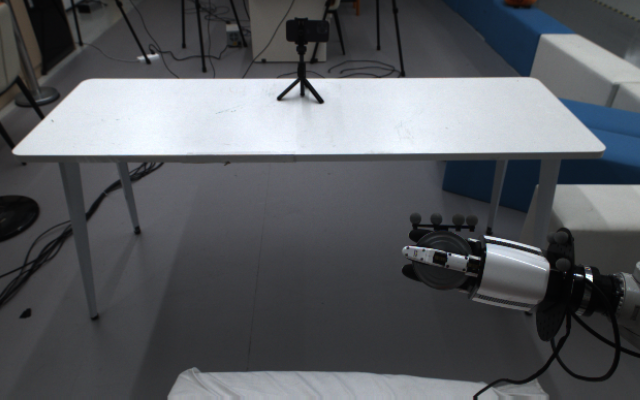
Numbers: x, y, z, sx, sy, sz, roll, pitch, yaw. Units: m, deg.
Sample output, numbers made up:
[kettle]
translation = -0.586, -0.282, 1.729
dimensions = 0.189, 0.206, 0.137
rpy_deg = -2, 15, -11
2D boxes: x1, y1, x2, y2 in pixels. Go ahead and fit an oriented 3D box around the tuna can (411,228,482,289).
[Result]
[tuna can]
translation = 0.180, 0.084, 0.703
dimensions = 0.085, 0.085, 0.034
rpy_deg = 13, -1, 16
